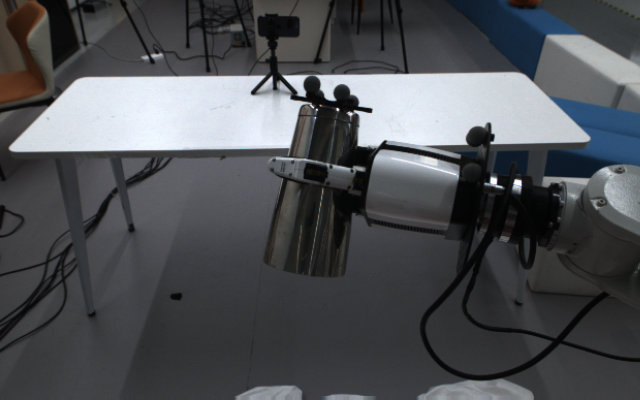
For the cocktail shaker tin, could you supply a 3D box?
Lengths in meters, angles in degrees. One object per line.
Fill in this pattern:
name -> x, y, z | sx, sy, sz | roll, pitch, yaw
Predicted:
cocktail shaker tin -> -0.001, -0.011, 0.524 | 0.093, 0.170, 0.093 | 10, 3, -1
